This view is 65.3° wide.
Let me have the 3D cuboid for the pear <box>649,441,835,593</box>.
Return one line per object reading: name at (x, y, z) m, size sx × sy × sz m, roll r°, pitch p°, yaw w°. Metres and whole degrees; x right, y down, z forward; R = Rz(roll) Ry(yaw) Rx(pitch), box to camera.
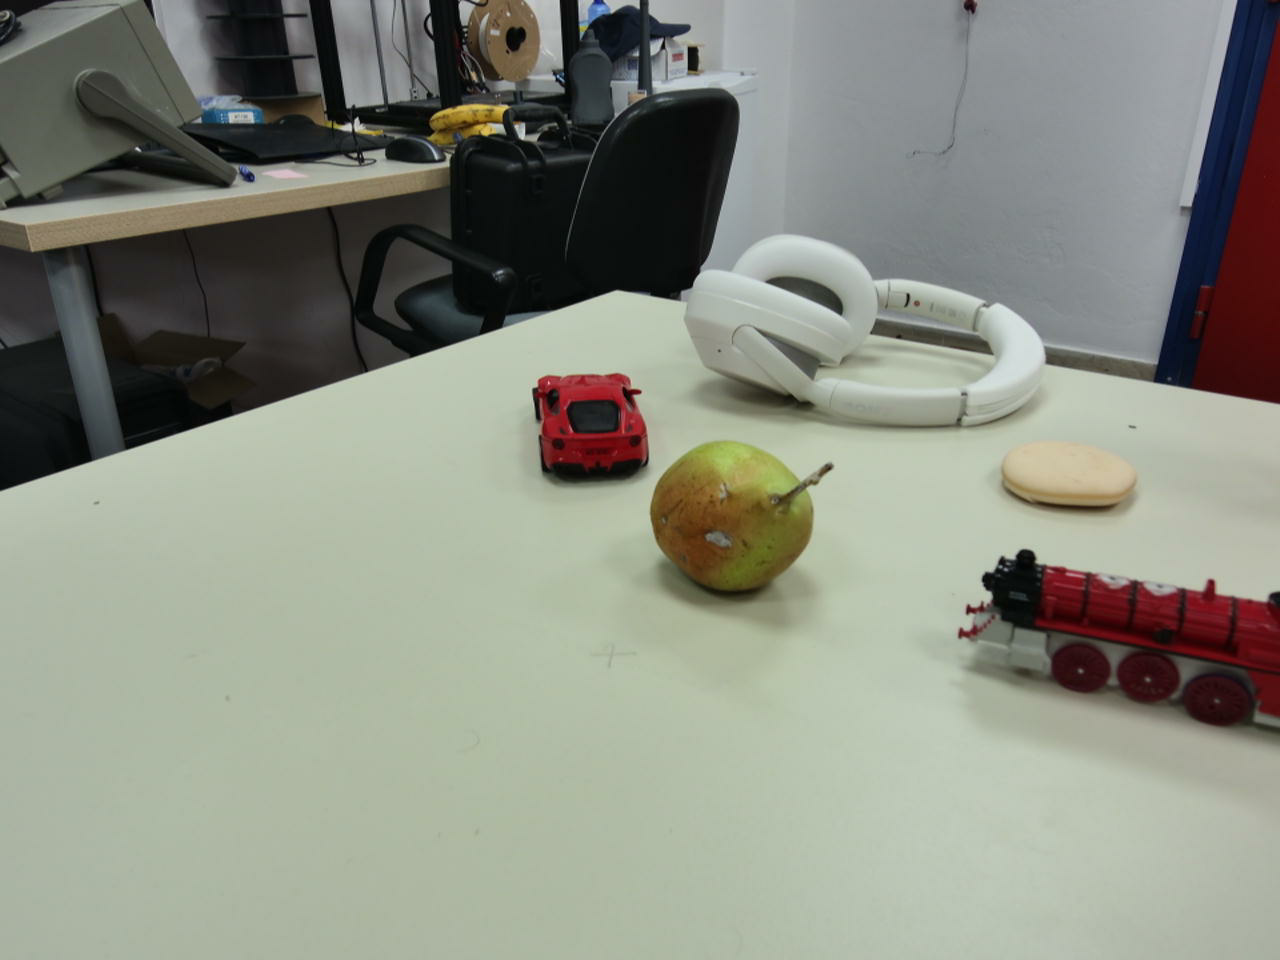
pear at (0.038, 0.013, 0.424) m, size 0.068 × 0.069 × 0.070 m, roll 1°, pitch 23°, yaw 0°
